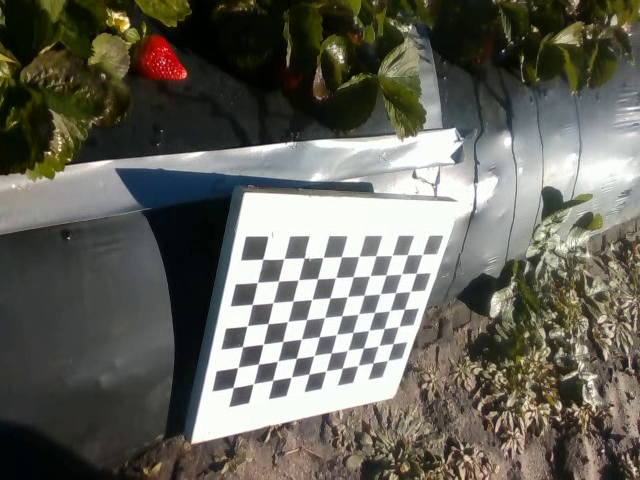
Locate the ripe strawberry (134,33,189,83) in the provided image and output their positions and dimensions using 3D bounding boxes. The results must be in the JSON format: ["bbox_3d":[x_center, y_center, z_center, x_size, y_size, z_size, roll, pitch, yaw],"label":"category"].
[{"bbox_3d":[-0.143,-0.160,0.557,0.058,0.046,0.042,35,1,-25],"label":"ripe strawberry"}]
